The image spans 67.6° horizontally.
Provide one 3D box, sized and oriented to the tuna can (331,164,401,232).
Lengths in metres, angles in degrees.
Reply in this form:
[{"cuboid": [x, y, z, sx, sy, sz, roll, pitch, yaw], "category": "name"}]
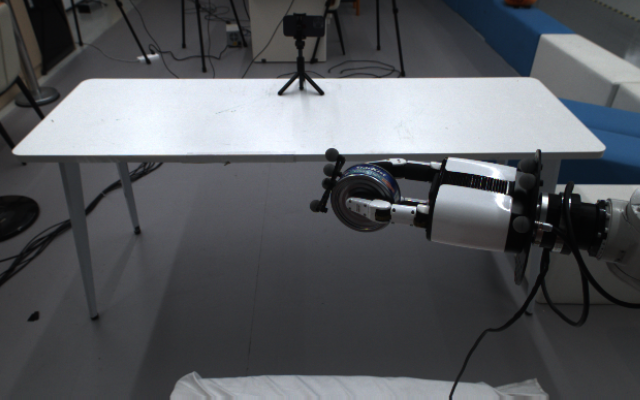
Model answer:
[{"cuboid": [0.060, -0.004, 0.622, 0.085, 0.085, 0.034, 12, 30, 14], "category": "tuna can"}]
